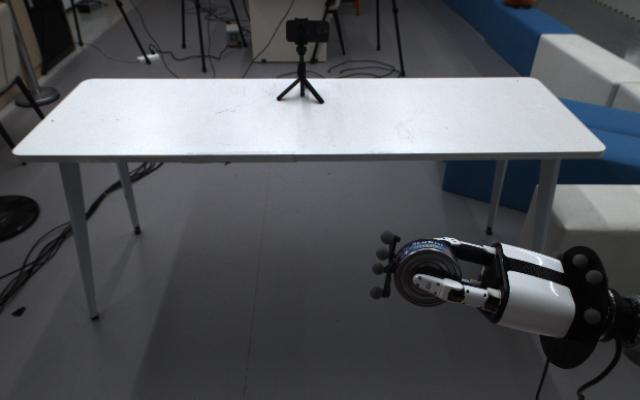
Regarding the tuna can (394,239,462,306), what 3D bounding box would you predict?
[{"bbox_3d":[0.140,0.091,0.627,0.085,0.085,0.034,4,17,3],"label":"tuna can"}]
